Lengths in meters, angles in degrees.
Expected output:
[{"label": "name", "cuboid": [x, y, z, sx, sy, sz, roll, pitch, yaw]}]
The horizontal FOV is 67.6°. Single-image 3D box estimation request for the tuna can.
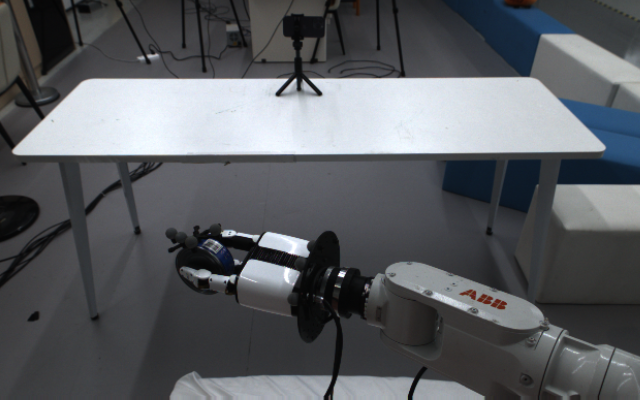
[{"label": "tuna can", "cuboid": [-0.167, 0.102, 0.736, 0.085, 0.085, 0.034, 13, 28, 15]}]
